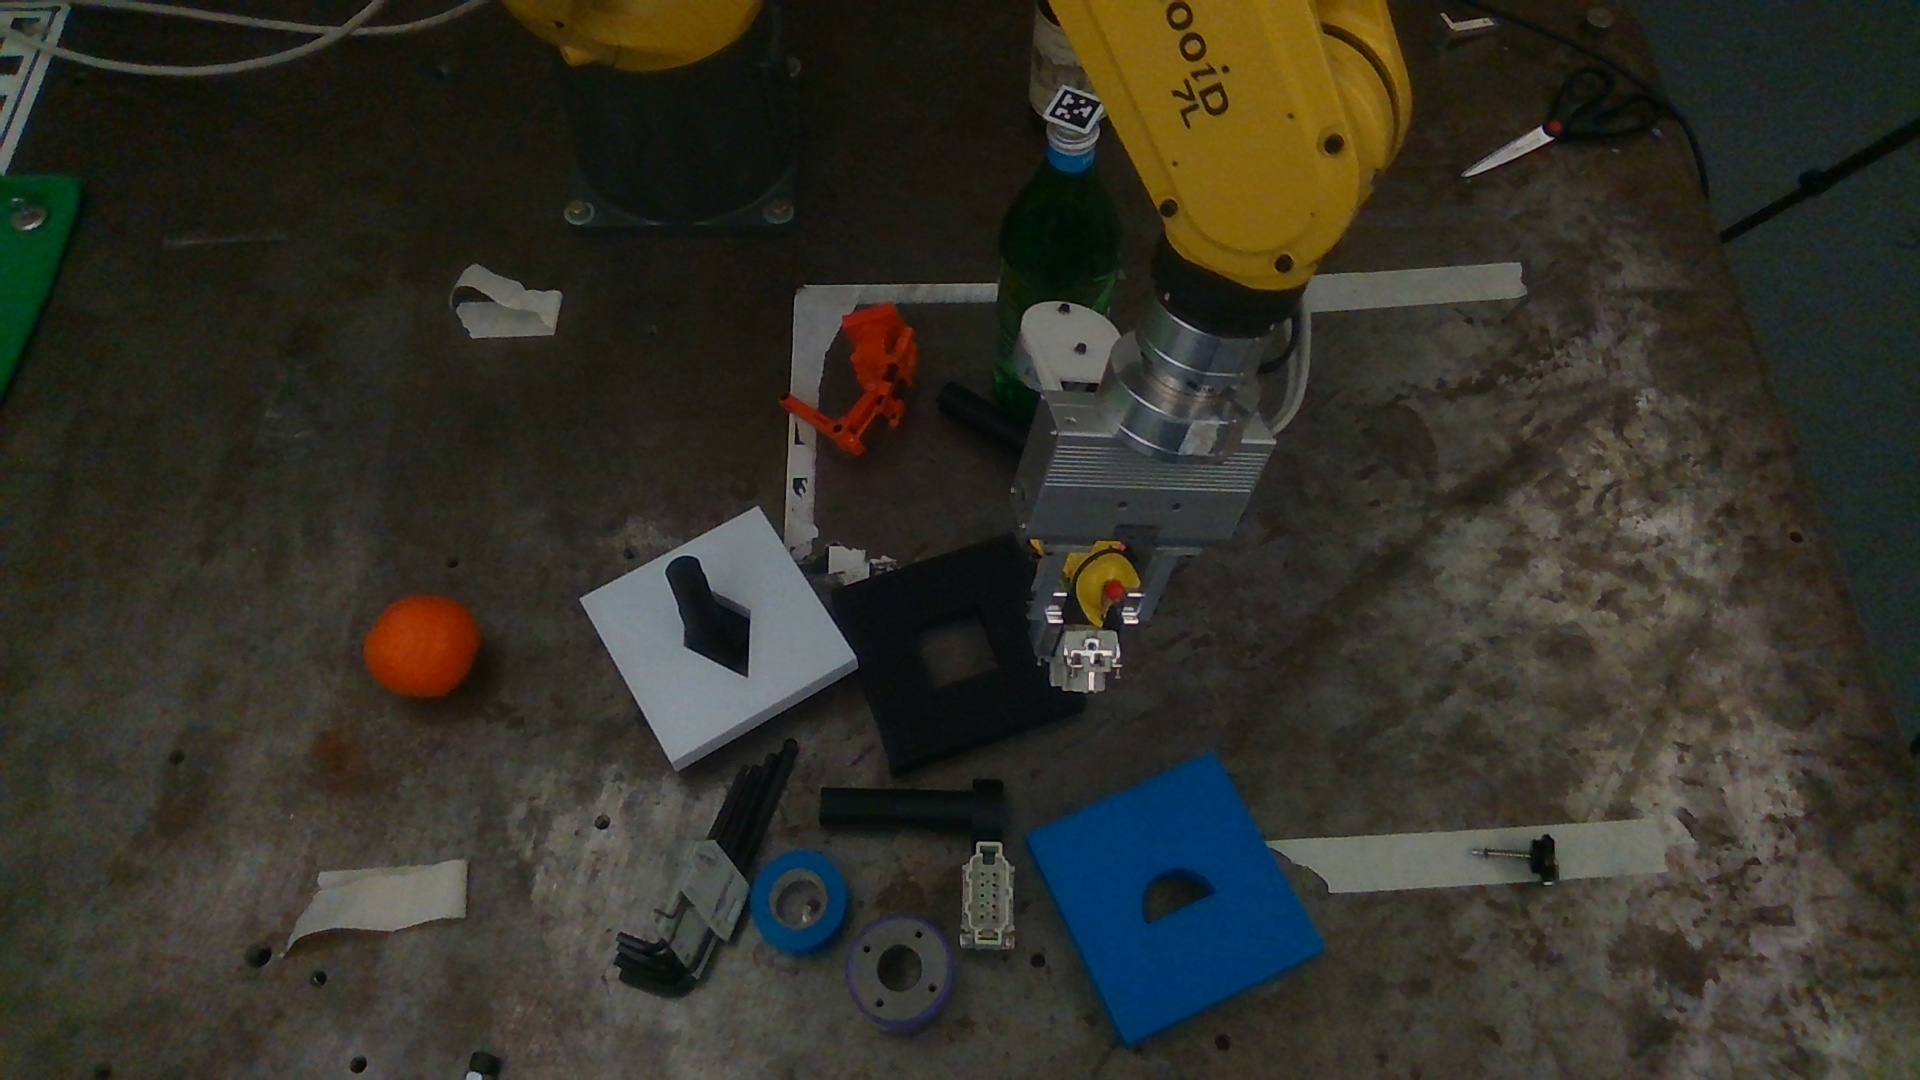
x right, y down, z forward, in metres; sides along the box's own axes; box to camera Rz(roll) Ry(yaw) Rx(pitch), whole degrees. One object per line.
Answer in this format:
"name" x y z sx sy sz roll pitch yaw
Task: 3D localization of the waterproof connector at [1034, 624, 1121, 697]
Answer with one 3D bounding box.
"waterproof connector" 0.072 0.073 0.849 0.036 0.069 0.038 -3 92 -13
